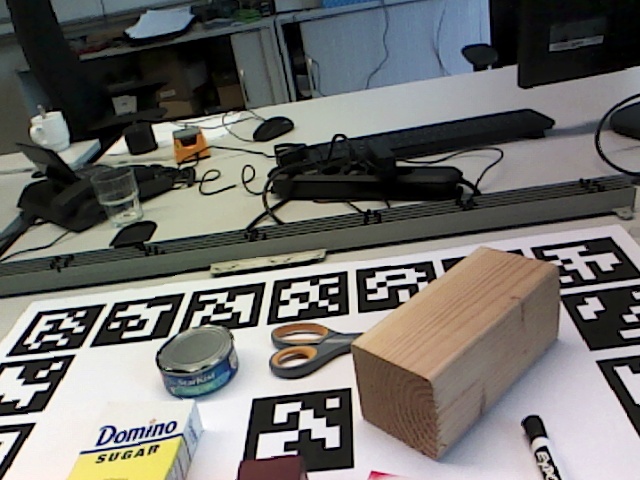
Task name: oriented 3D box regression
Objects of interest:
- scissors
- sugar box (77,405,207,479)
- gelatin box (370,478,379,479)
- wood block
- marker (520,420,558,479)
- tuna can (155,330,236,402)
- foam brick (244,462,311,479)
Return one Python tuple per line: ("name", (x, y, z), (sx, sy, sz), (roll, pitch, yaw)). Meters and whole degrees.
("scissors", (0.035, 0.122, 0.685), (0.203, 0.016, 0.088), (-7, 28, 15))
("sugar box", (-0.169, 0.224, 0.548), (0.093, 0.045, 0.176), (-6, 29, 10))
("gelatin box", (0.071, 0.224, 0.467), (0.090, 0.030, 0.073), (1, 31, 24))
("wood block", (0.142, 0.106, 0.600), (0.205, 0.090, 0.090), (-32, 33, -34))
("marker", (0.180, 0.192, 0.490), (0.020, 0.019, 0.121), (-8, 30, 8))
("tuna can", (-0.138, 0.140, 0.694), (0.086, 0.033, 0.086), (-10, 29, 5))
("foam brick", (-0.033, 0.222, 0.481), (0.053, 0.051, 0.078), (-8, 29, 9))
